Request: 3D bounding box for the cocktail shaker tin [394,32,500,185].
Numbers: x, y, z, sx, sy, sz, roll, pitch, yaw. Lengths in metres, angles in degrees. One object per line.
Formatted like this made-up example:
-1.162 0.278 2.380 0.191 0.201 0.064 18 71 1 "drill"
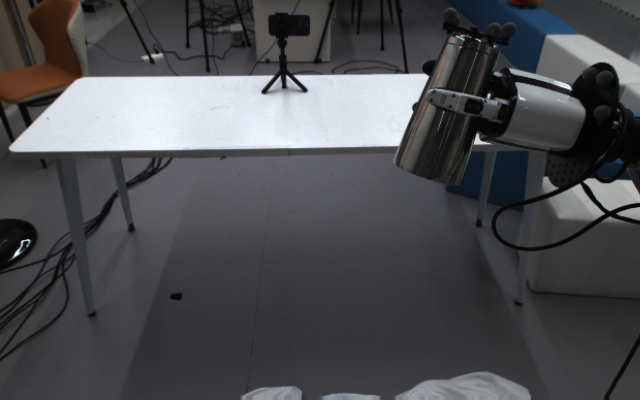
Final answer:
0.164 -0.115 0.612 0.093 0.170 0.093 15 17 -5 "cocktail shaker tin"
